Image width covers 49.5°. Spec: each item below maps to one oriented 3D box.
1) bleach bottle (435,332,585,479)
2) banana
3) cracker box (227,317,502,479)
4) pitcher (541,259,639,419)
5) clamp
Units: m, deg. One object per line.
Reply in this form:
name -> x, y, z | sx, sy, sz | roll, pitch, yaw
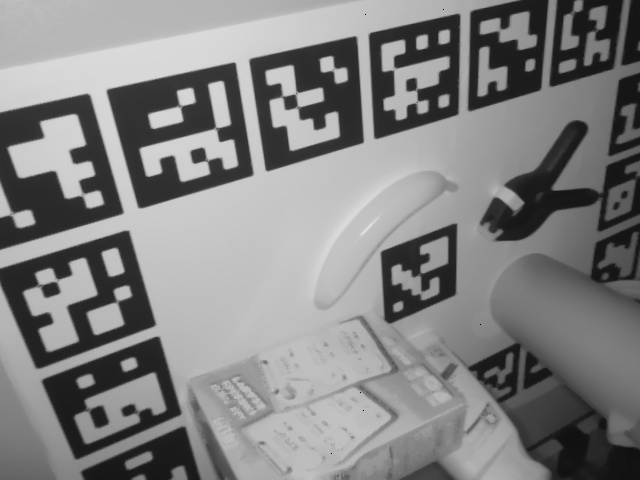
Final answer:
bleach bottle -> 0.201, 0.203, 0.748 | 0.104, 0.249, 0.067 | -20, 125, -19
banana -> 0.088, 0.004, 0.719 | 0.197, 0.038, 0.075 | -48, 129, 1
cracker box -> 0.042, 0.179, 0.678 | 0.216, 0.163, 0.071 | -19, 126, -22
pitcher -> 0.372, 0.116, 0.776 | 0.189, 0.241, 0.133 | -34, 128, -6
clamp -> 0.291, -0.045, 0.801 | 0.166, 0.036, 0.121 | -34, 128, -8
